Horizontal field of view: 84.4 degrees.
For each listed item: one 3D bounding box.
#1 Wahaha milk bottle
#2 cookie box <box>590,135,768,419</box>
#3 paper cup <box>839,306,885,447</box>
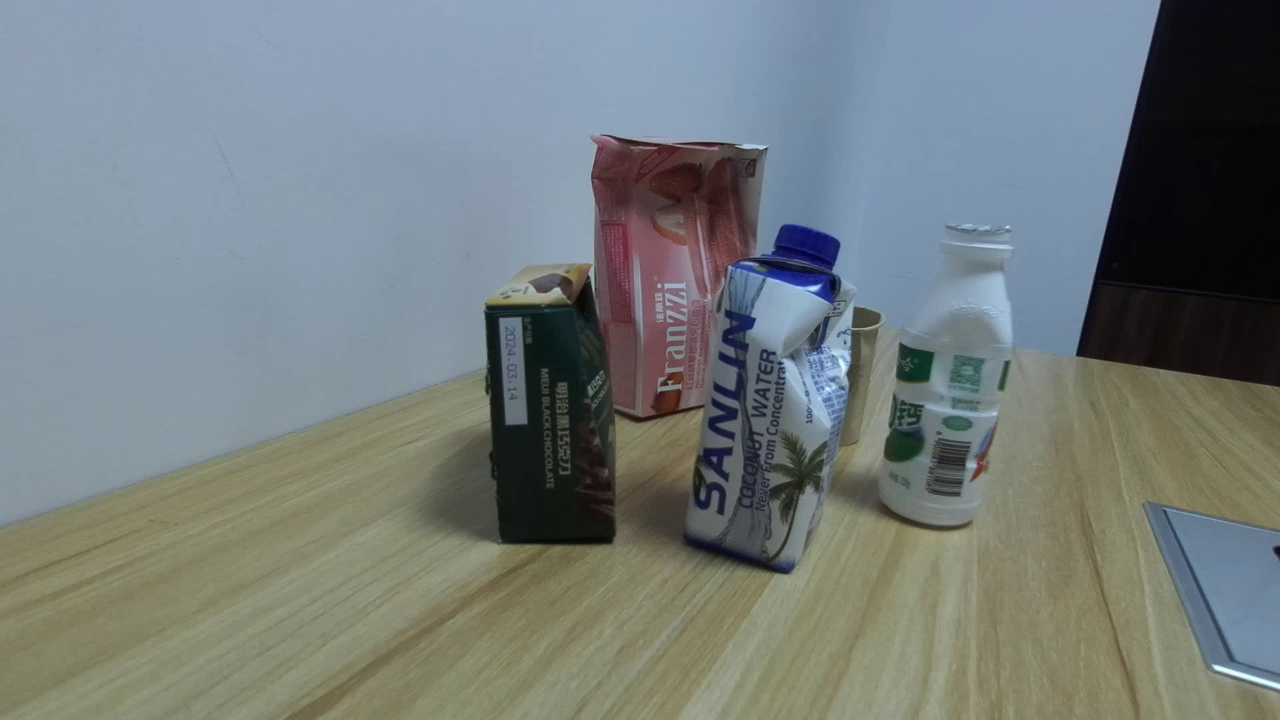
[{"bbox_3d":[0.154,0.007,0.354,0.055,0.149,0.055,3,15,0],"label":"Wahaha milk bottle"},{"bbox_3d":[0.024,-0.056,0.482,0.119,0.184,0.055,-8,19,-33],"label":"cookie box"},{"bbox_3d":[0.121,0.009,0.451,0.072,0.084,0.066,-9,19,-39],"label":"paper cup"}]
